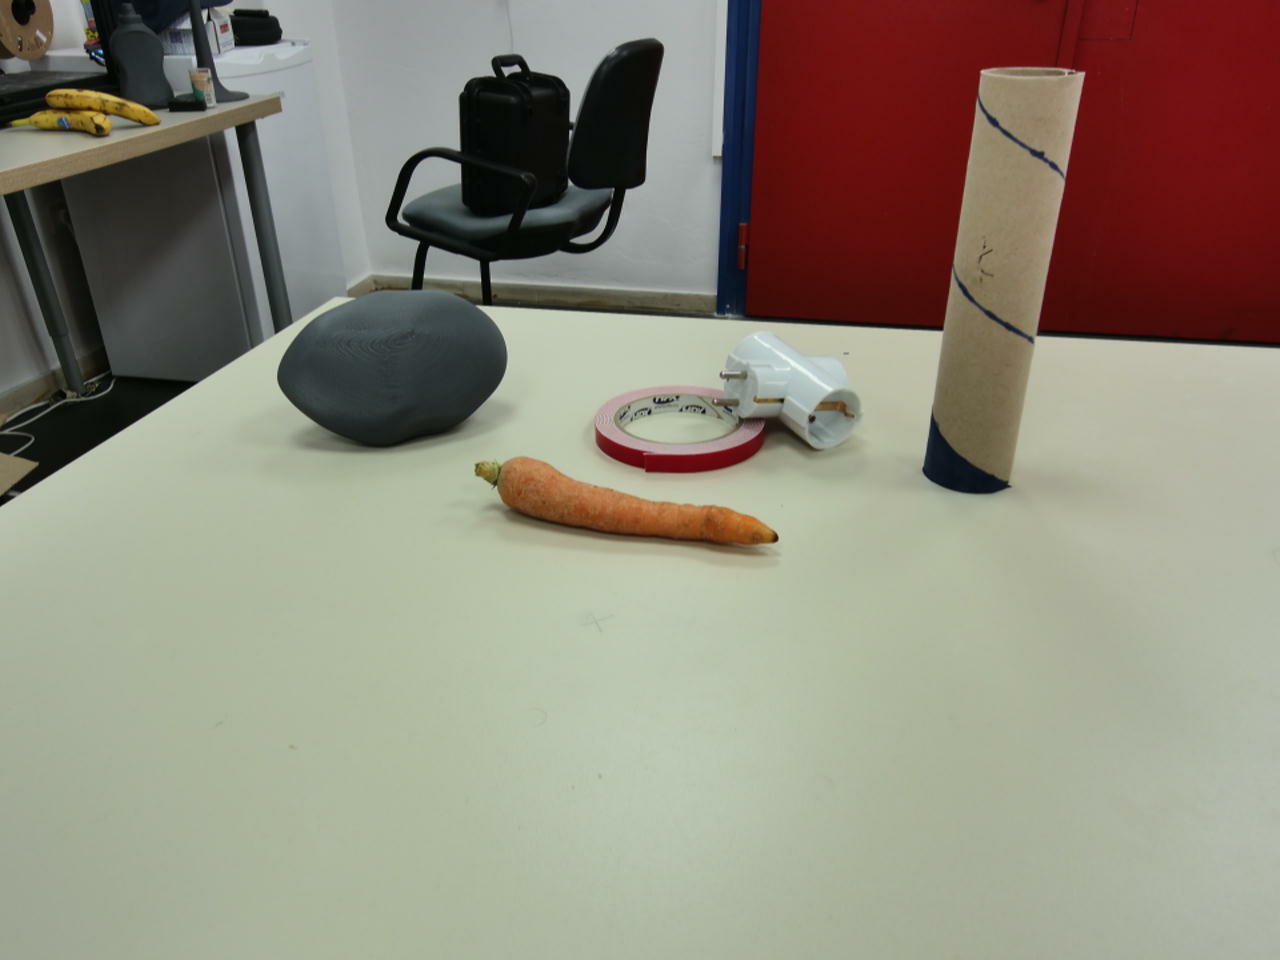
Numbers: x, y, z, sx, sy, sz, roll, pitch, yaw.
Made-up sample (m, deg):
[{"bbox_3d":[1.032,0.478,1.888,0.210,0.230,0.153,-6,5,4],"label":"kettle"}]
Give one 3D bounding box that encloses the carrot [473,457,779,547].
[{"bbox_3d":[-0.010,0.013,0.528,0.173,0.032,0.030,10,27,20],"label":"carrot"}]
